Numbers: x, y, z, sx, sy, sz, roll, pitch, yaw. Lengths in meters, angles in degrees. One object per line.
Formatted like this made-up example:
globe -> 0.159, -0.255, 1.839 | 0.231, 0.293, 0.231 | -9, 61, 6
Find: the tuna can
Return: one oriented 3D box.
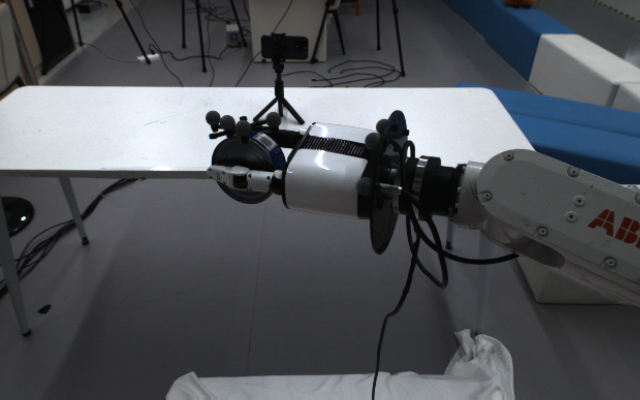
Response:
tuna can -> -0.083, -0.041, 0.582 | 0.085, 0.085, 0.034 | 14, 29, 16
